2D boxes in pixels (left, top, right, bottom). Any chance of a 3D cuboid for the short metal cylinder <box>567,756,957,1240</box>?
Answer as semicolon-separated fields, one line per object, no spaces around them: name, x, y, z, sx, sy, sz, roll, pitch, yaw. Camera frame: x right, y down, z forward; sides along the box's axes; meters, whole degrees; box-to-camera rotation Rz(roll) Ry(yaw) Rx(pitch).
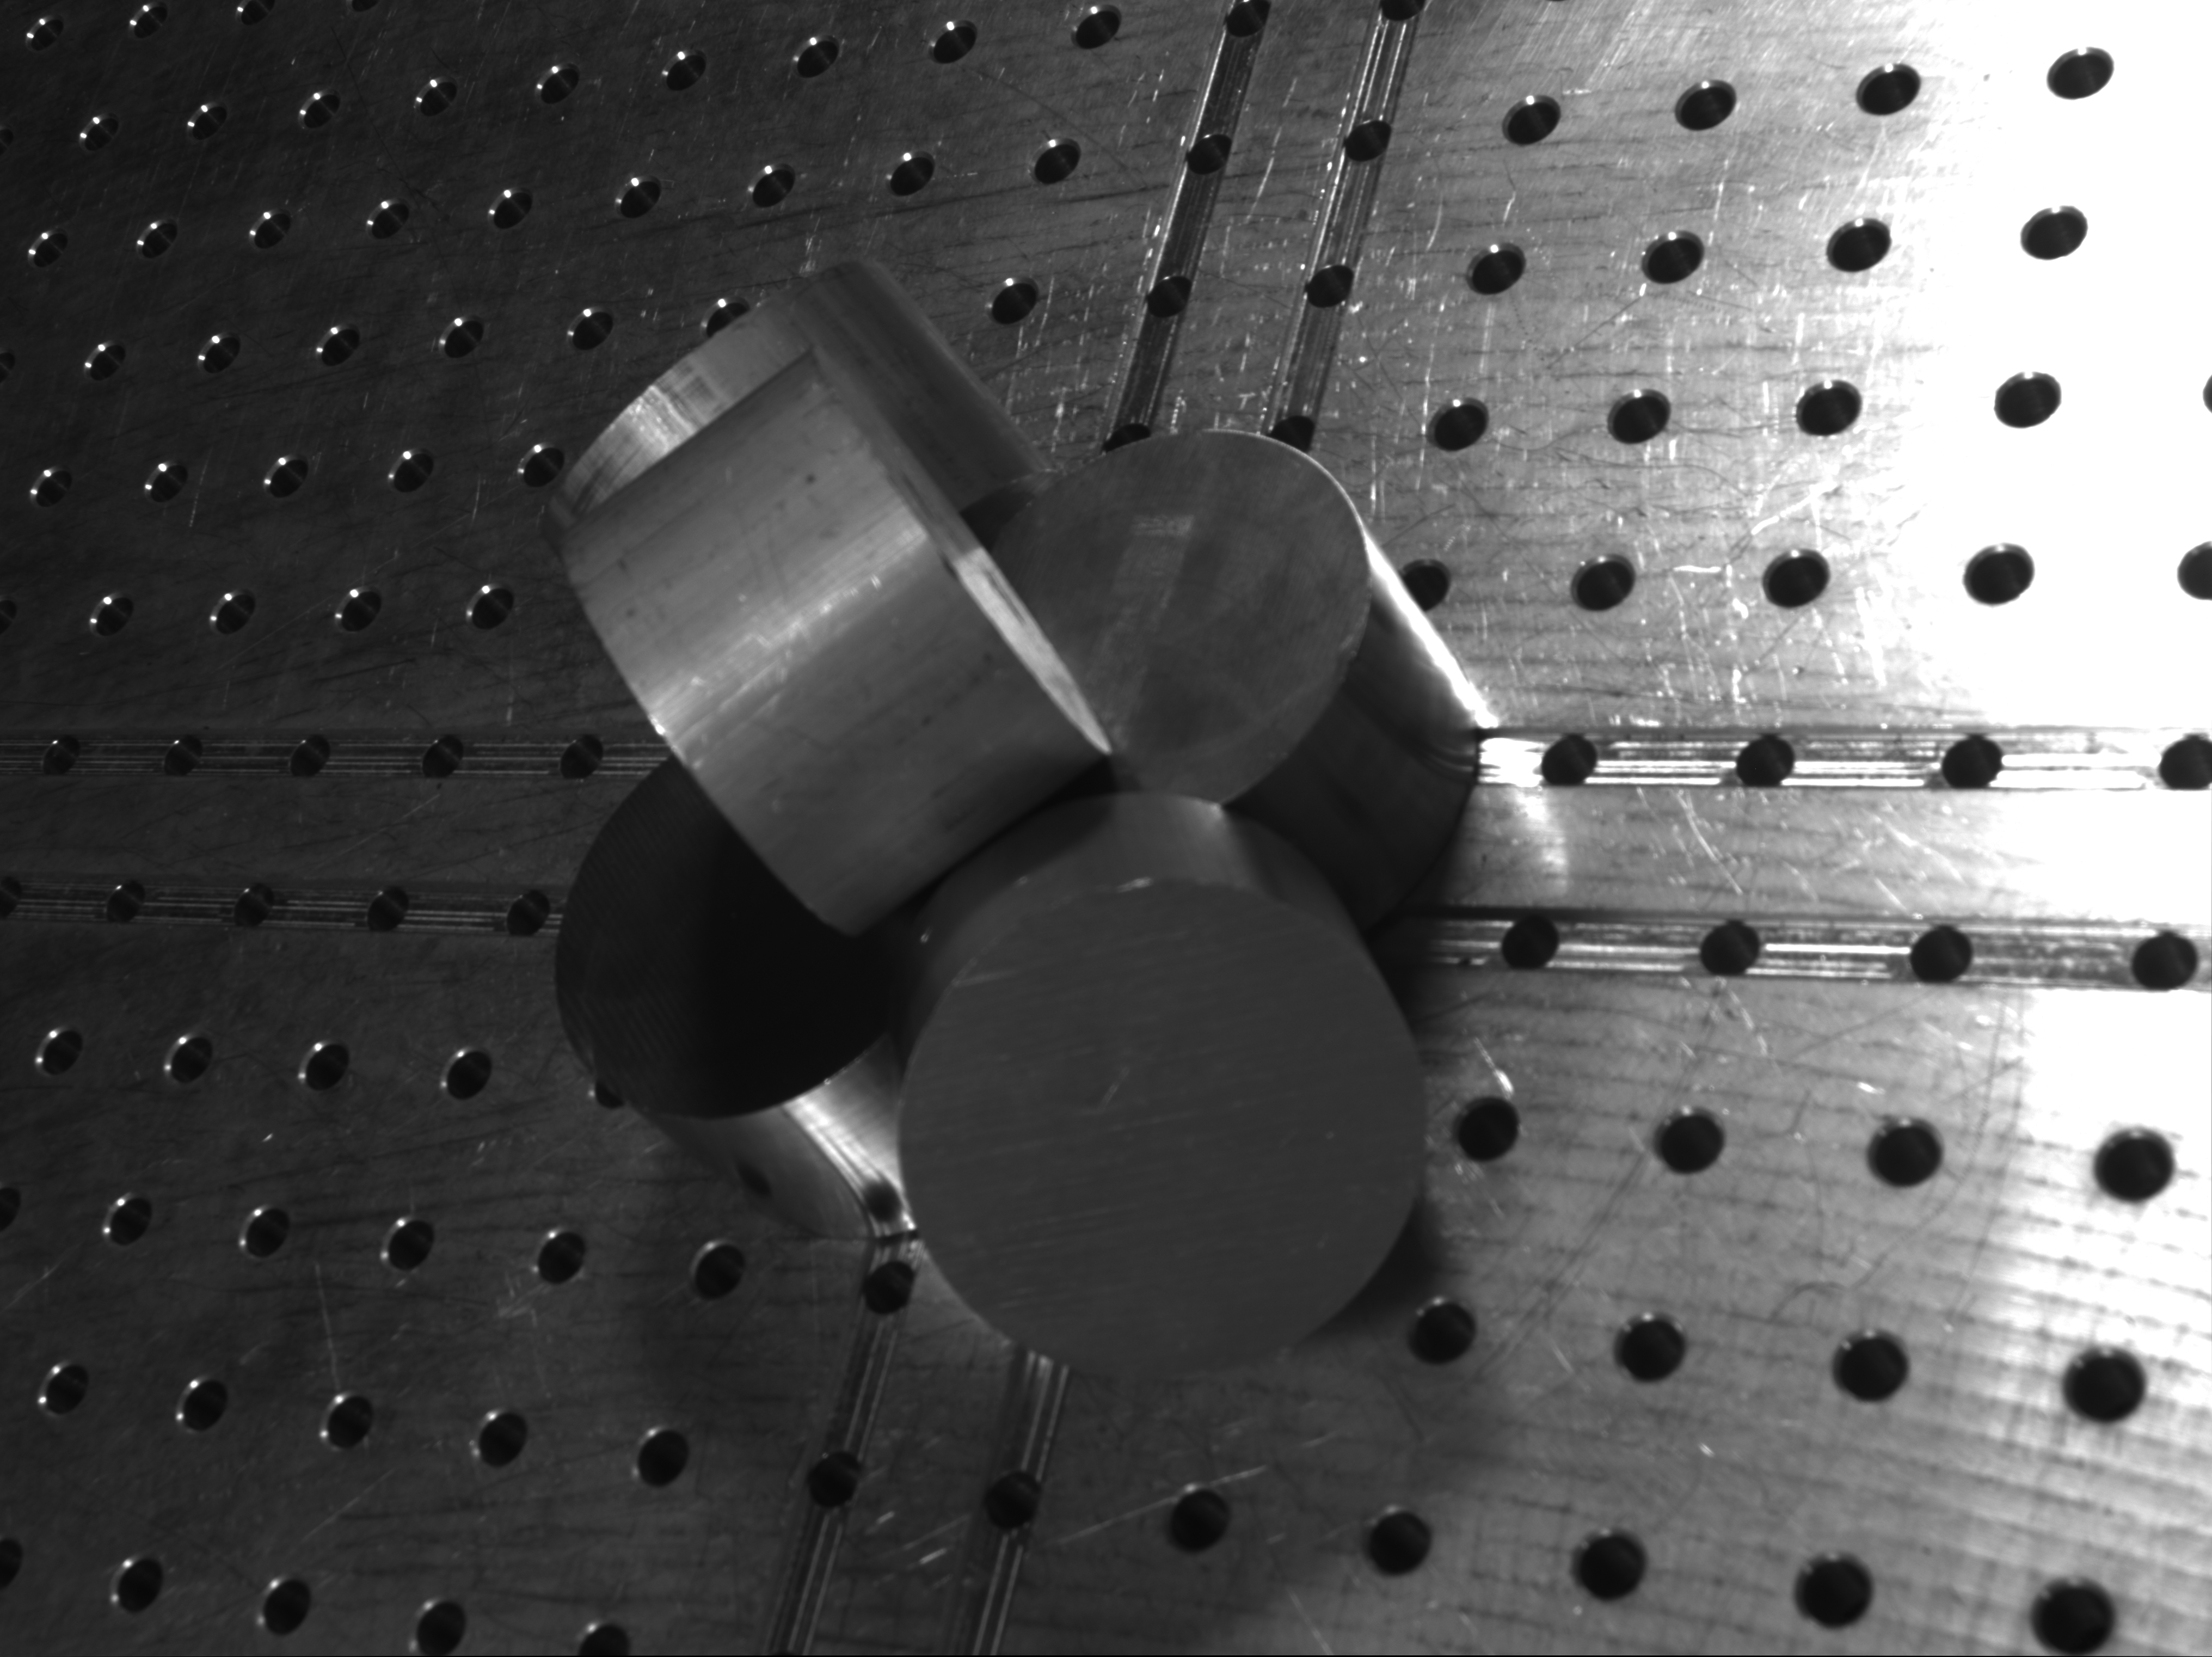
short metal cylinder;-0.047;0.025;0.640;0.080;0.050;0.080;-13;56;21

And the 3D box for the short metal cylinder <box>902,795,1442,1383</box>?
short metal cylinder;0.009;0.040;0.573;0.080;0.080;0.050;-35;15;5

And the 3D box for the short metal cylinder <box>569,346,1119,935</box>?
short metal cylinder;-0.041;-0.030;0.586;0.050;0.080;0.080;-36;51;5

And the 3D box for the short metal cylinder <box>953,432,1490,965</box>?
short metal cylinder;0.020;-0.021;0.633;0.080;0.050;0.080;-13;56;21

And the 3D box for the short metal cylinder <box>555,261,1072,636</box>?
short metal cylinder;-0.053;-0.057;0.667;0.080;0.080;0.050;-40;85;1
